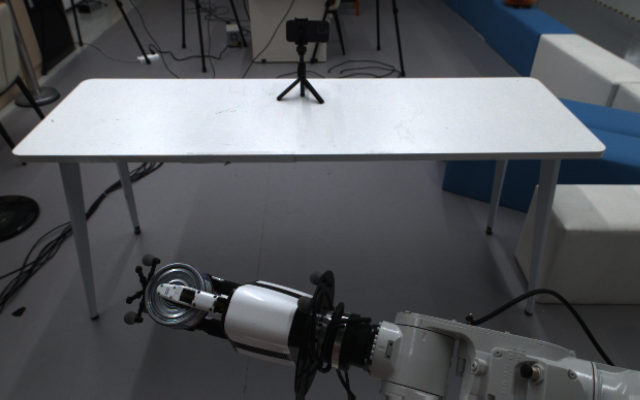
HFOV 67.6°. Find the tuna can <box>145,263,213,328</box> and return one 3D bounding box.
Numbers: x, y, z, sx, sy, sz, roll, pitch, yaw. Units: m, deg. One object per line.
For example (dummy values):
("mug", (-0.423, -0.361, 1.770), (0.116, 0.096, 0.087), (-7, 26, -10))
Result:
("tuna can", (-0.185, 0.128, 0.646), (0.085, 0.034, 0.085), (-3, 69, 7))
